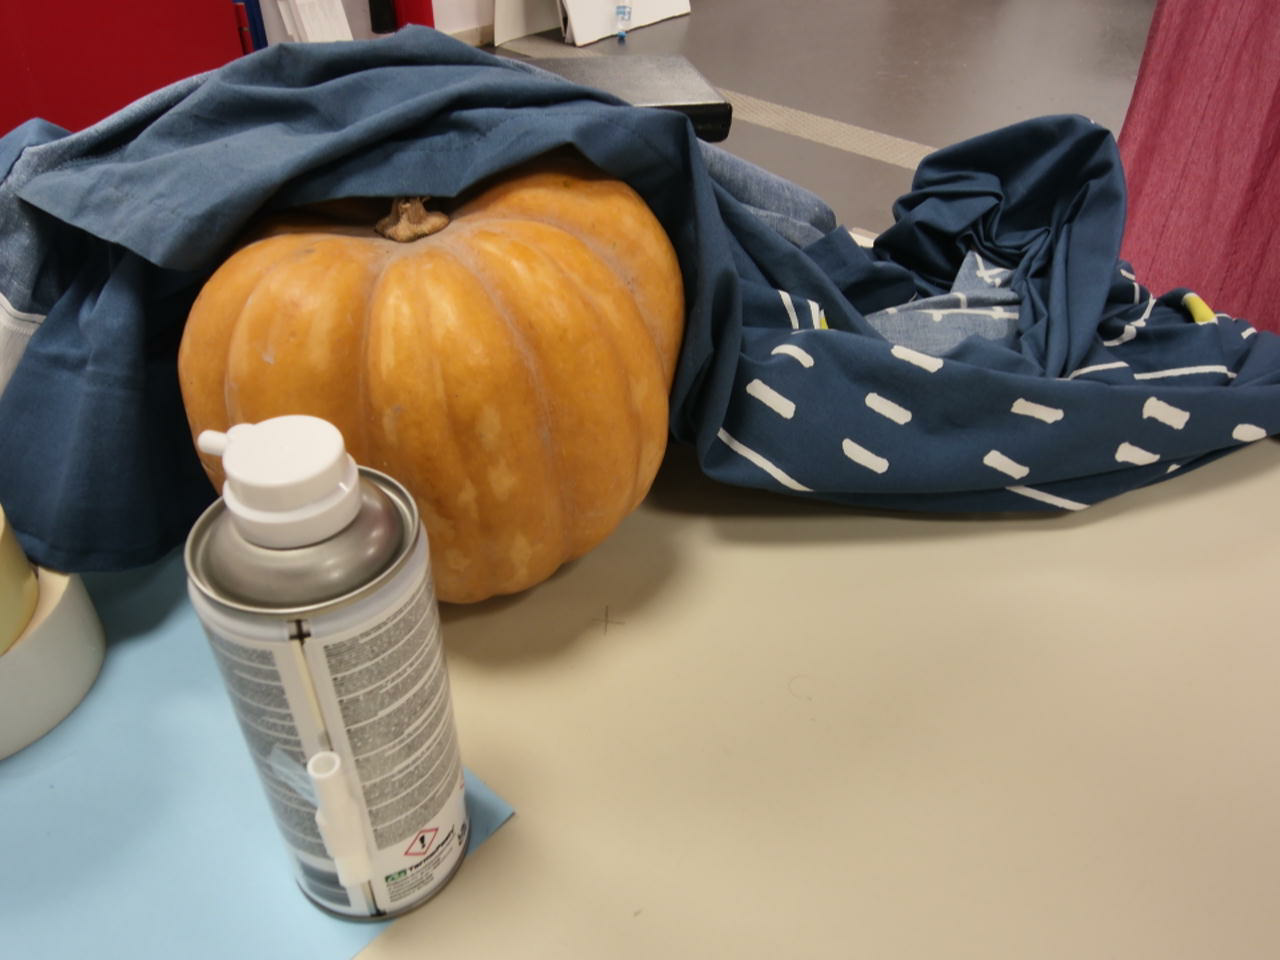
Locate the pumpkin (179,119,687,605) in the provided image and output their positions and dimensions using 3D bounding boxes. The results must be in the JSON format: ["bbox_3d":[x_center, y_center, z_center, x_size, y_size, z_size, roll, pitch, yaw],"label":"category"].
[{"bbox_3d":[-0.088,-0.052,0.459,0.230,0.194,0.230,1,38,0],"label":"pumpkin"}]
